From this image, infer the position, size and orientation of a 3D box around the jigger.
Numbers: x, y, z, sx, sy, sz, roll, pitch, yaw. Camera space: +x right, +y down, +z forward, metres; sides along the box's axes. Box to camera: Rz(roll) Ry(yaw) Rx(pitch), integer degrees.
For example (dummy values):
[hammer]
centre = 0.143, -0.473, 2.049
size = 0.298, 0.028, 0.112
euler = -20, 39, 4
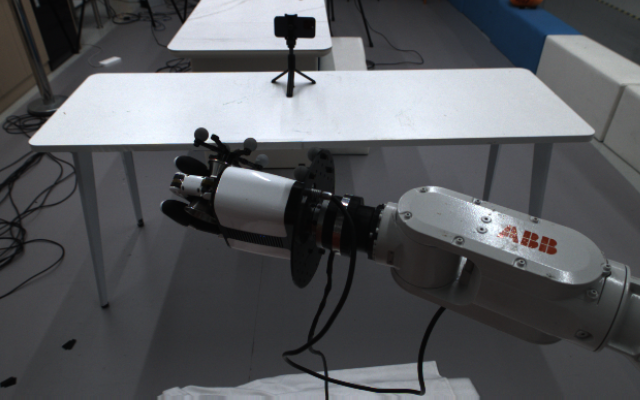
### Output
[jigger]
centre = -0.126, -0.010, 0.585
size = 0.043, 0.043, 0.071
euler = 13, 70, 16
